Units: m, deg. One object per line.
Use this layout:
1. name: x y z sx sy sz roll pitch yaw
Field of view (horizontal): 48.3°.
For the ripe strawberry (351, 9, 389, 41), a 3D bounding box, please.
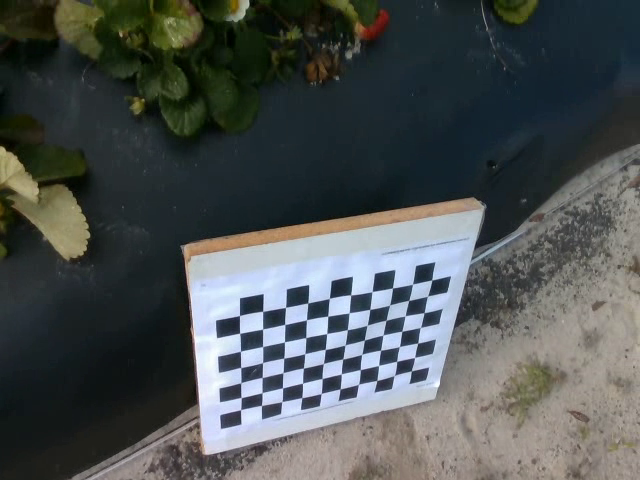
1. ripe strawberry: 0.031 -0.130 0.429 0.027 0.021 0.022 -21 -36 5
